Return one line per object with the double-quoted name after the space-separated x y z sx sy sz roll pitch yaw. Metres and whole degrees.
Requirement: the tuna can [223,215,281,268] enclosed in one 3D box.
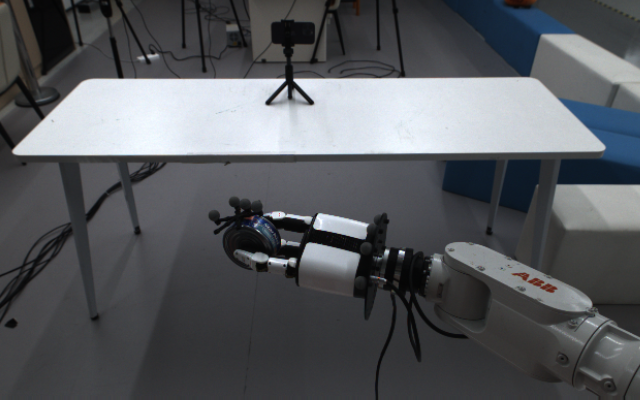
-0.102 0.072 0.741 0.085 0.085 0.034 11 34 13 "tuna can"
